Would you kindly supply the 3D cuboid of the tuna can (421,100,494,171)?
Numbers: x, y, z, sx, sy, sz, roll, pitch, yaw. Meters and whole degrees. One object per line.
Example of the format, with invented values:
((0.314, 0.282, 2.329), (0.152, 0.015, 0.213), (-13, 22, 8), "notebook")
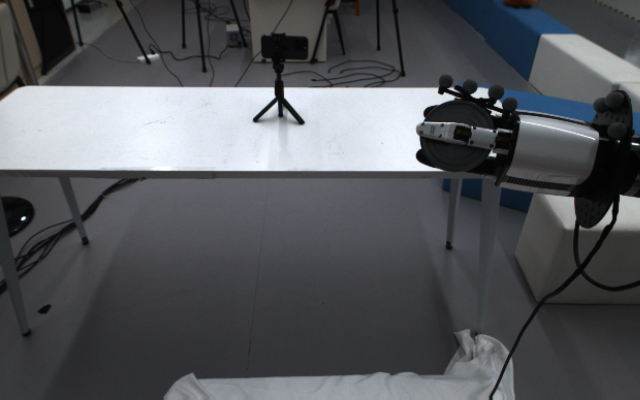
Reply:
((0.168, -0.077, 0.588), (0.085, 0.085, 0.034), (13, 2, 16), "tuna can")
